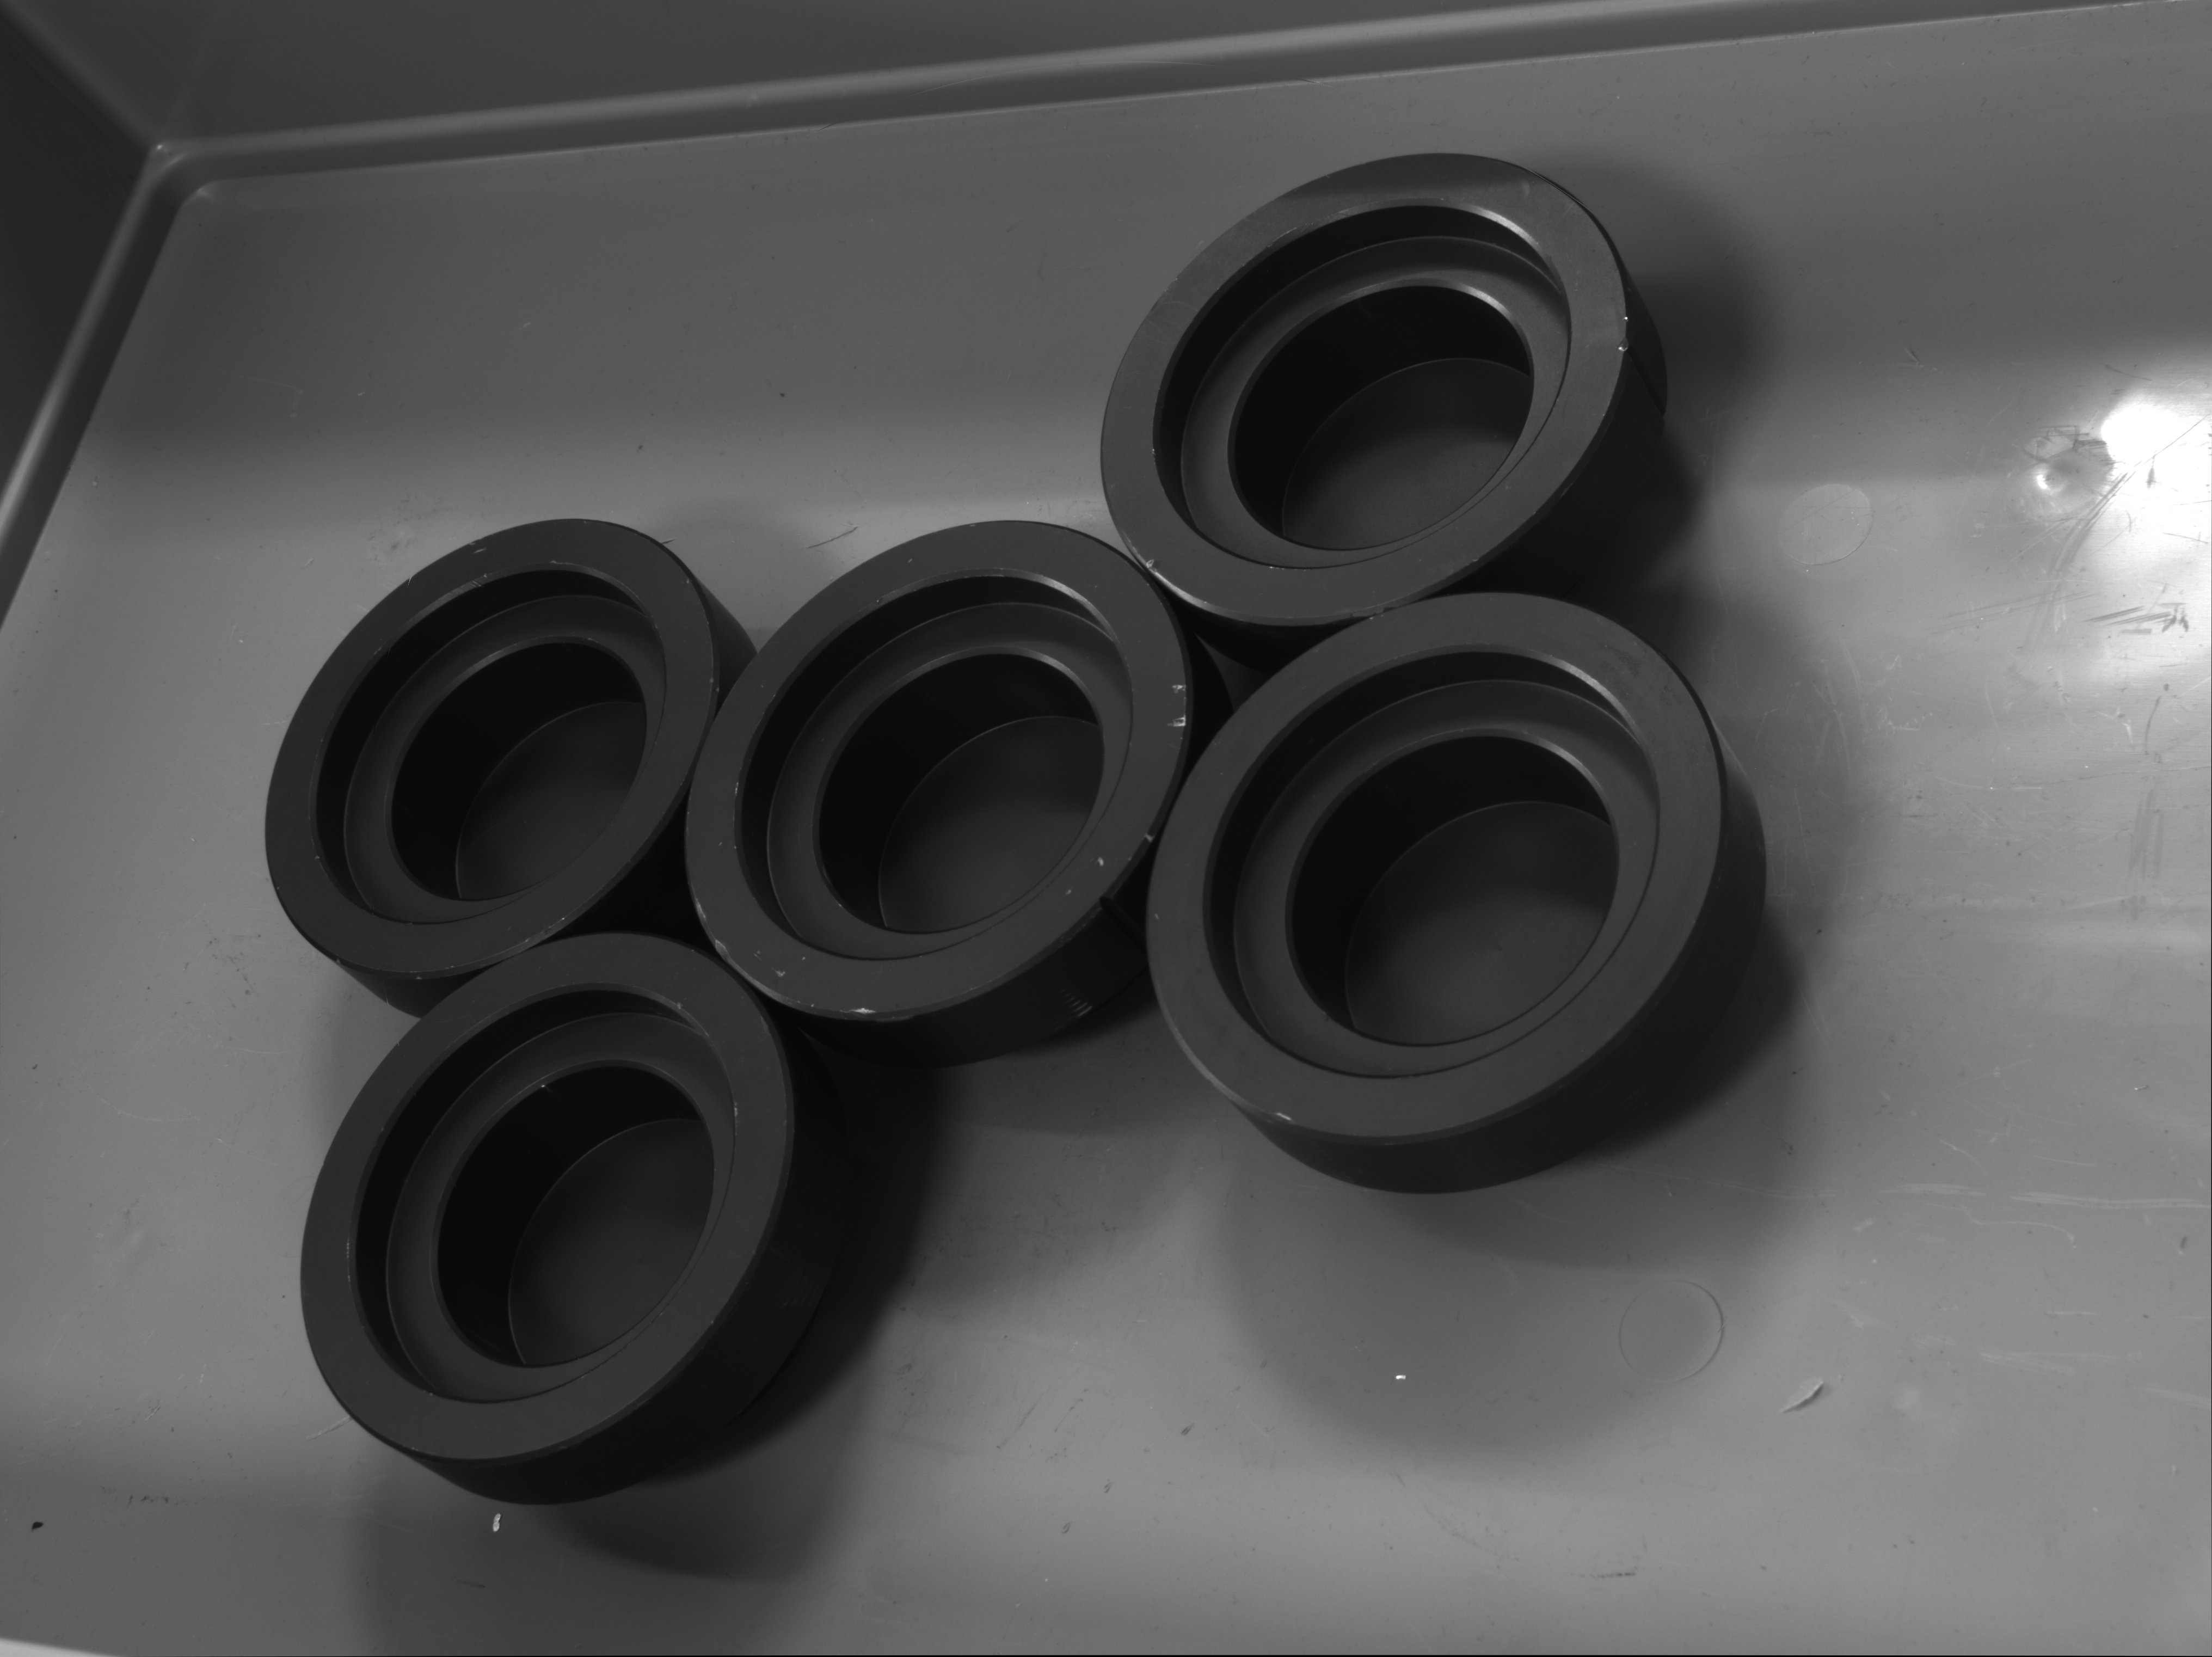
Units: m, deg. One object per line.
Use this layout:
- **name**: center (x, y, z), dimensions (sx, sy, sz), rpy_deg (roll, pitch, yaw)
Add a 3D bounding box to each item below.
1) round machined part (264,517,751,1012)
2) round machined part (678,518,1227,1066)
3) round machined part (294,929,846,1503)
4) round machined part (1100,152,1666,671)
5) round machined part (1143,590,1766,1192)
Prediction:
- **round machined part**: center (-0.106, -0.007, 0.693), dimensions (0.098, 0.042, 0.098), rpy_deg (-13, 56, 21)
- **round machined part**: center (-0.023, -0.002, 0.644), dimensions (0.098, 0.042, 0.098), rpy_deg (-13, 56, 21)
- **round machined part**: center (-0.088, 0.070, 0.634), dimensions (0.098, 0.042, 0.098), rpy_deg (-13, 56, 21)
- **round machined part**: center (0.052, -0.067, 0.645), dimensions (0.098, 0.042, 0.098), rpy_deg (-13, 56, 21)
- **round machined part**: center (0.059, 0.014, 0.590), dimensions (0.098, 0.042, 0.098), rpy_deg (-13, 56, 21)
